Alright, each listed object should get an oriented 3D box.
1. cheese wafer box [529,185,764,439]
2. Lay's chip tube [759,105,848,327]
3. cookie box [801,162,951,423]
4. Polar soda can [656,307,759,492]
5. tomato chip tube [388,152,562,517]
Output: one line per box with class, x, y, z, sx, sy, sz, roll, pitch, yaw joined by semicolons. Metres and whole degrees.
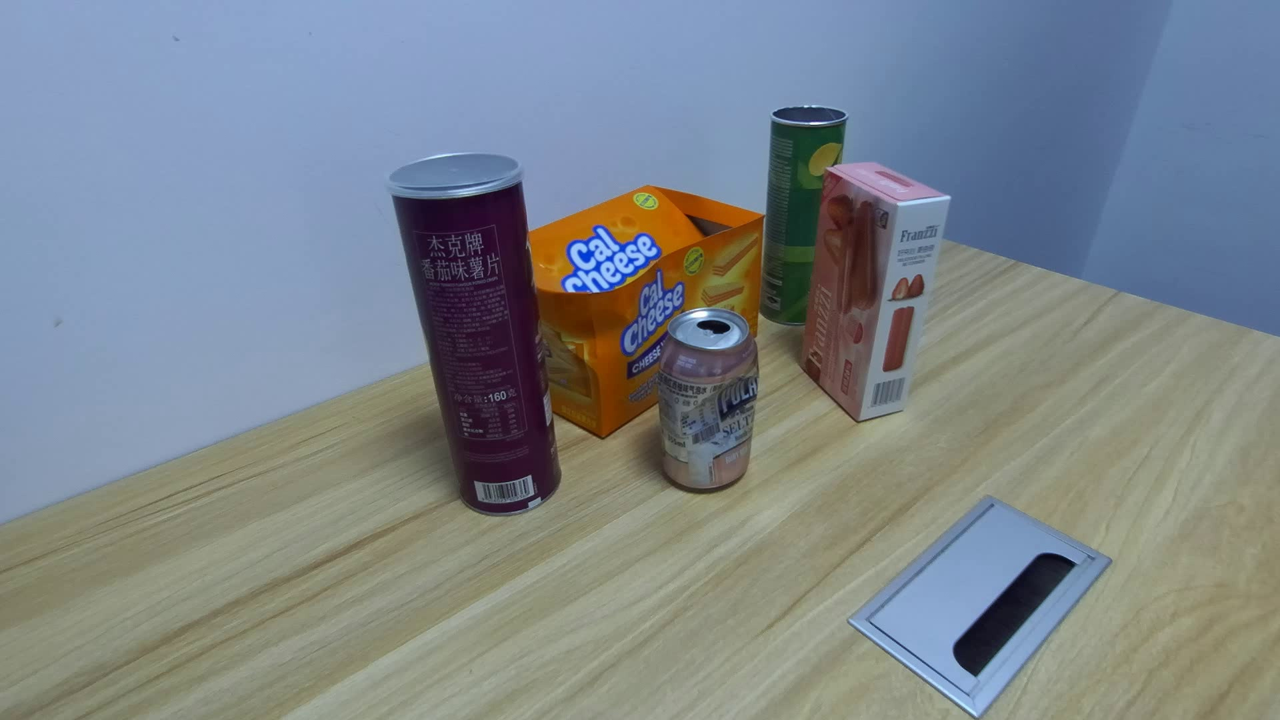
cheese wafer box;-0.010;-0.052;0.635;0.151;0.132;0.231;25;41;36
Lay's chip tube;0.156;-0.136;0.682;0.071;0.203;0.071;-1;31;1
cookie box;0.181;-0.054;0.568;0.048;0.185;0.096;-11;33;-17
Polar soda can;0.049;0.030;0.502;0.074;0.122;0.067;-5;31;-3
tomato chip tube;-0.102;-0.009;0.469;0.078;0.234;0.078;-2;31;2
